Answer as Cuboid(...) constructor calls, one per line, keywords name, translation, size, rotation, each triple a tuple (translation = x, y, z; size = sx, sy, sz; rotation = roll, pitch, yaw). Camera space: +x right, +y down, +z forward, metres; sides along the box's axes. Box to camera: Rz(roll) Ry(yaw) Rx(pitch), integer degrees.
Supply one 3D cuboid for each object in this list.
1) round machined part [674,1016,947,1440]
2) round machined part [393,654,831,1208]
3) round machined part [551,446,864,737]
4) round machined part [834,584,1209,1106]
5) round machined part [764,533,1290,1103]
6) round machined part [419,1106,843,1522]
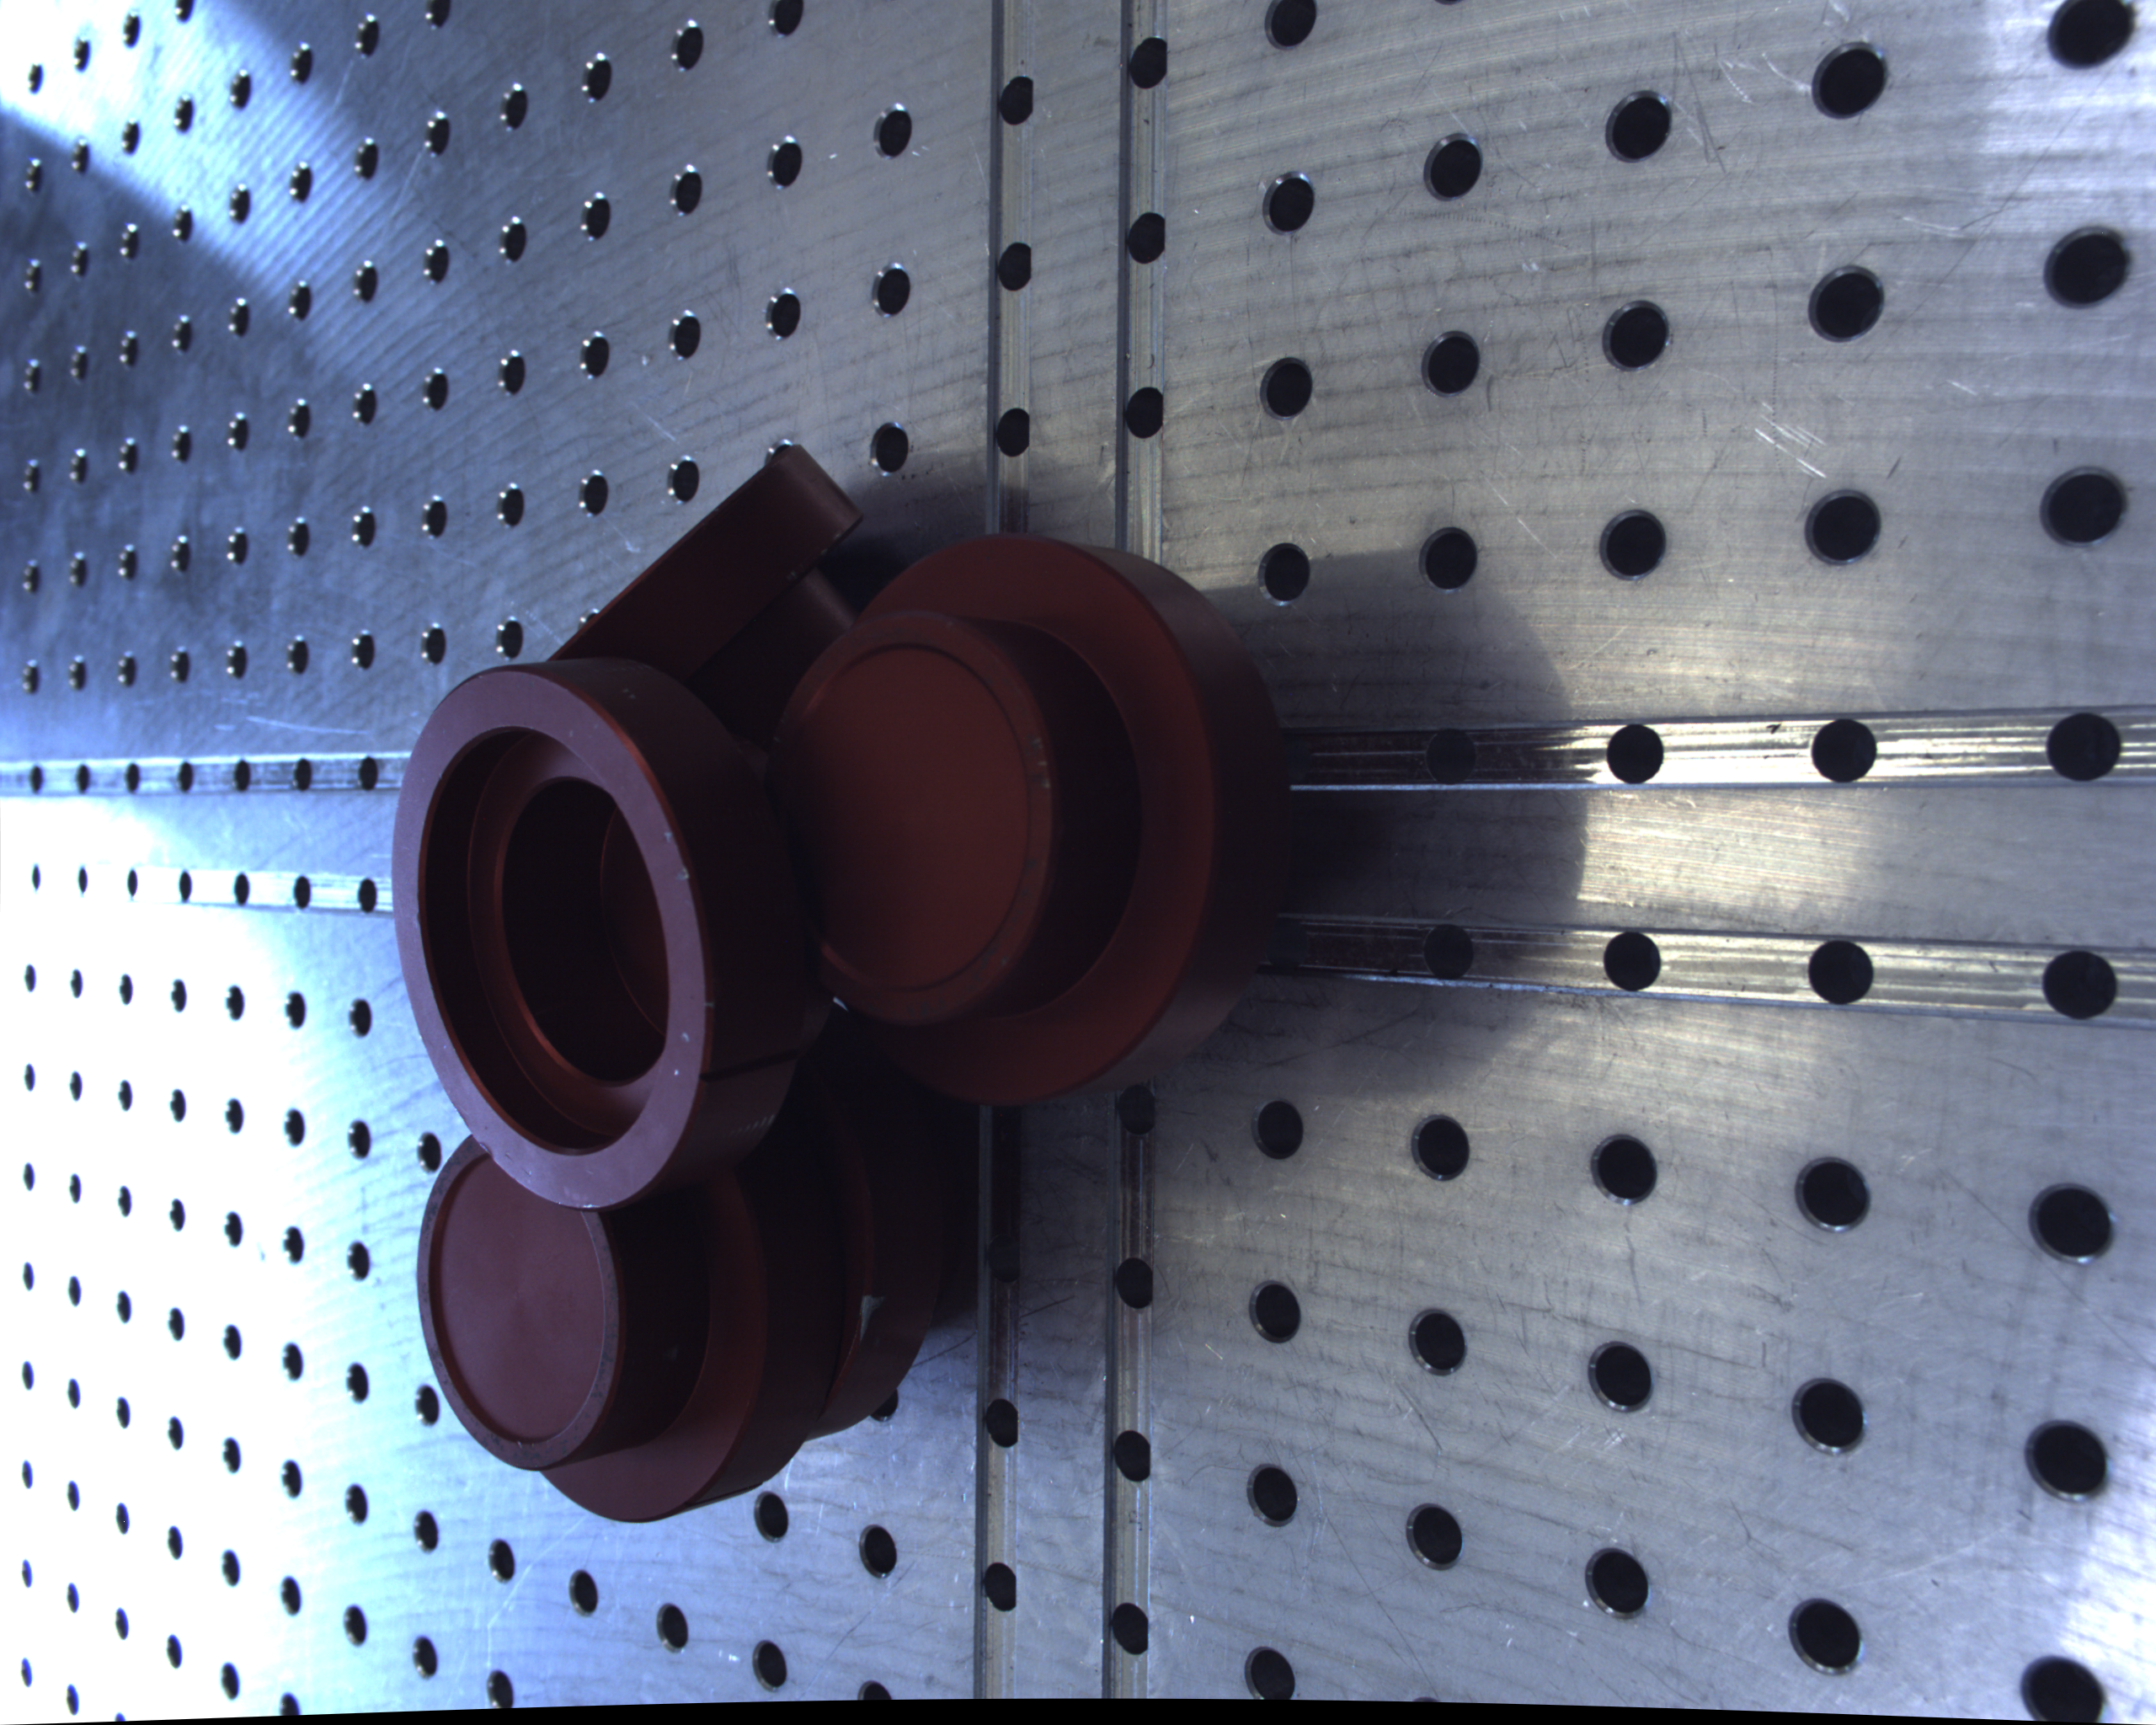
Cuboid(name="round machined part", translation=(-0.077, 0.075, 0.436), size=(0.098, 0.042, 0.097), rotation=(0, 90, 40))
Cuboid(name="round machined part", translation=(-0.081, 0.010, 0.383), size=(0.098, 0.042, 0.097), rotation=(10, 105, 41))
Cuboid(name="round machined part", translation=(-0.081, -0.040, 0.442), size=(0.098, 0.098, 0.042), rotation=(-34, 104, 35))
Cuboid(name="round machined part", translation=(-0.018, -0.004, 0.387), size=(0.098, 0.042, 0.097), rotation=(0, 90, 40))
Cuboid(name="round machined part", translation=(-0.016, -0.008, 0.356), size=(0.098, 0.042, 0.097), rotation=(-1, 89, 40))
Cuboid(name="round machined part", translation=(-0.096, 0.084, 0.424), size=(0.098, 0.042, 0.097), rotation=(0, 90, 40))
